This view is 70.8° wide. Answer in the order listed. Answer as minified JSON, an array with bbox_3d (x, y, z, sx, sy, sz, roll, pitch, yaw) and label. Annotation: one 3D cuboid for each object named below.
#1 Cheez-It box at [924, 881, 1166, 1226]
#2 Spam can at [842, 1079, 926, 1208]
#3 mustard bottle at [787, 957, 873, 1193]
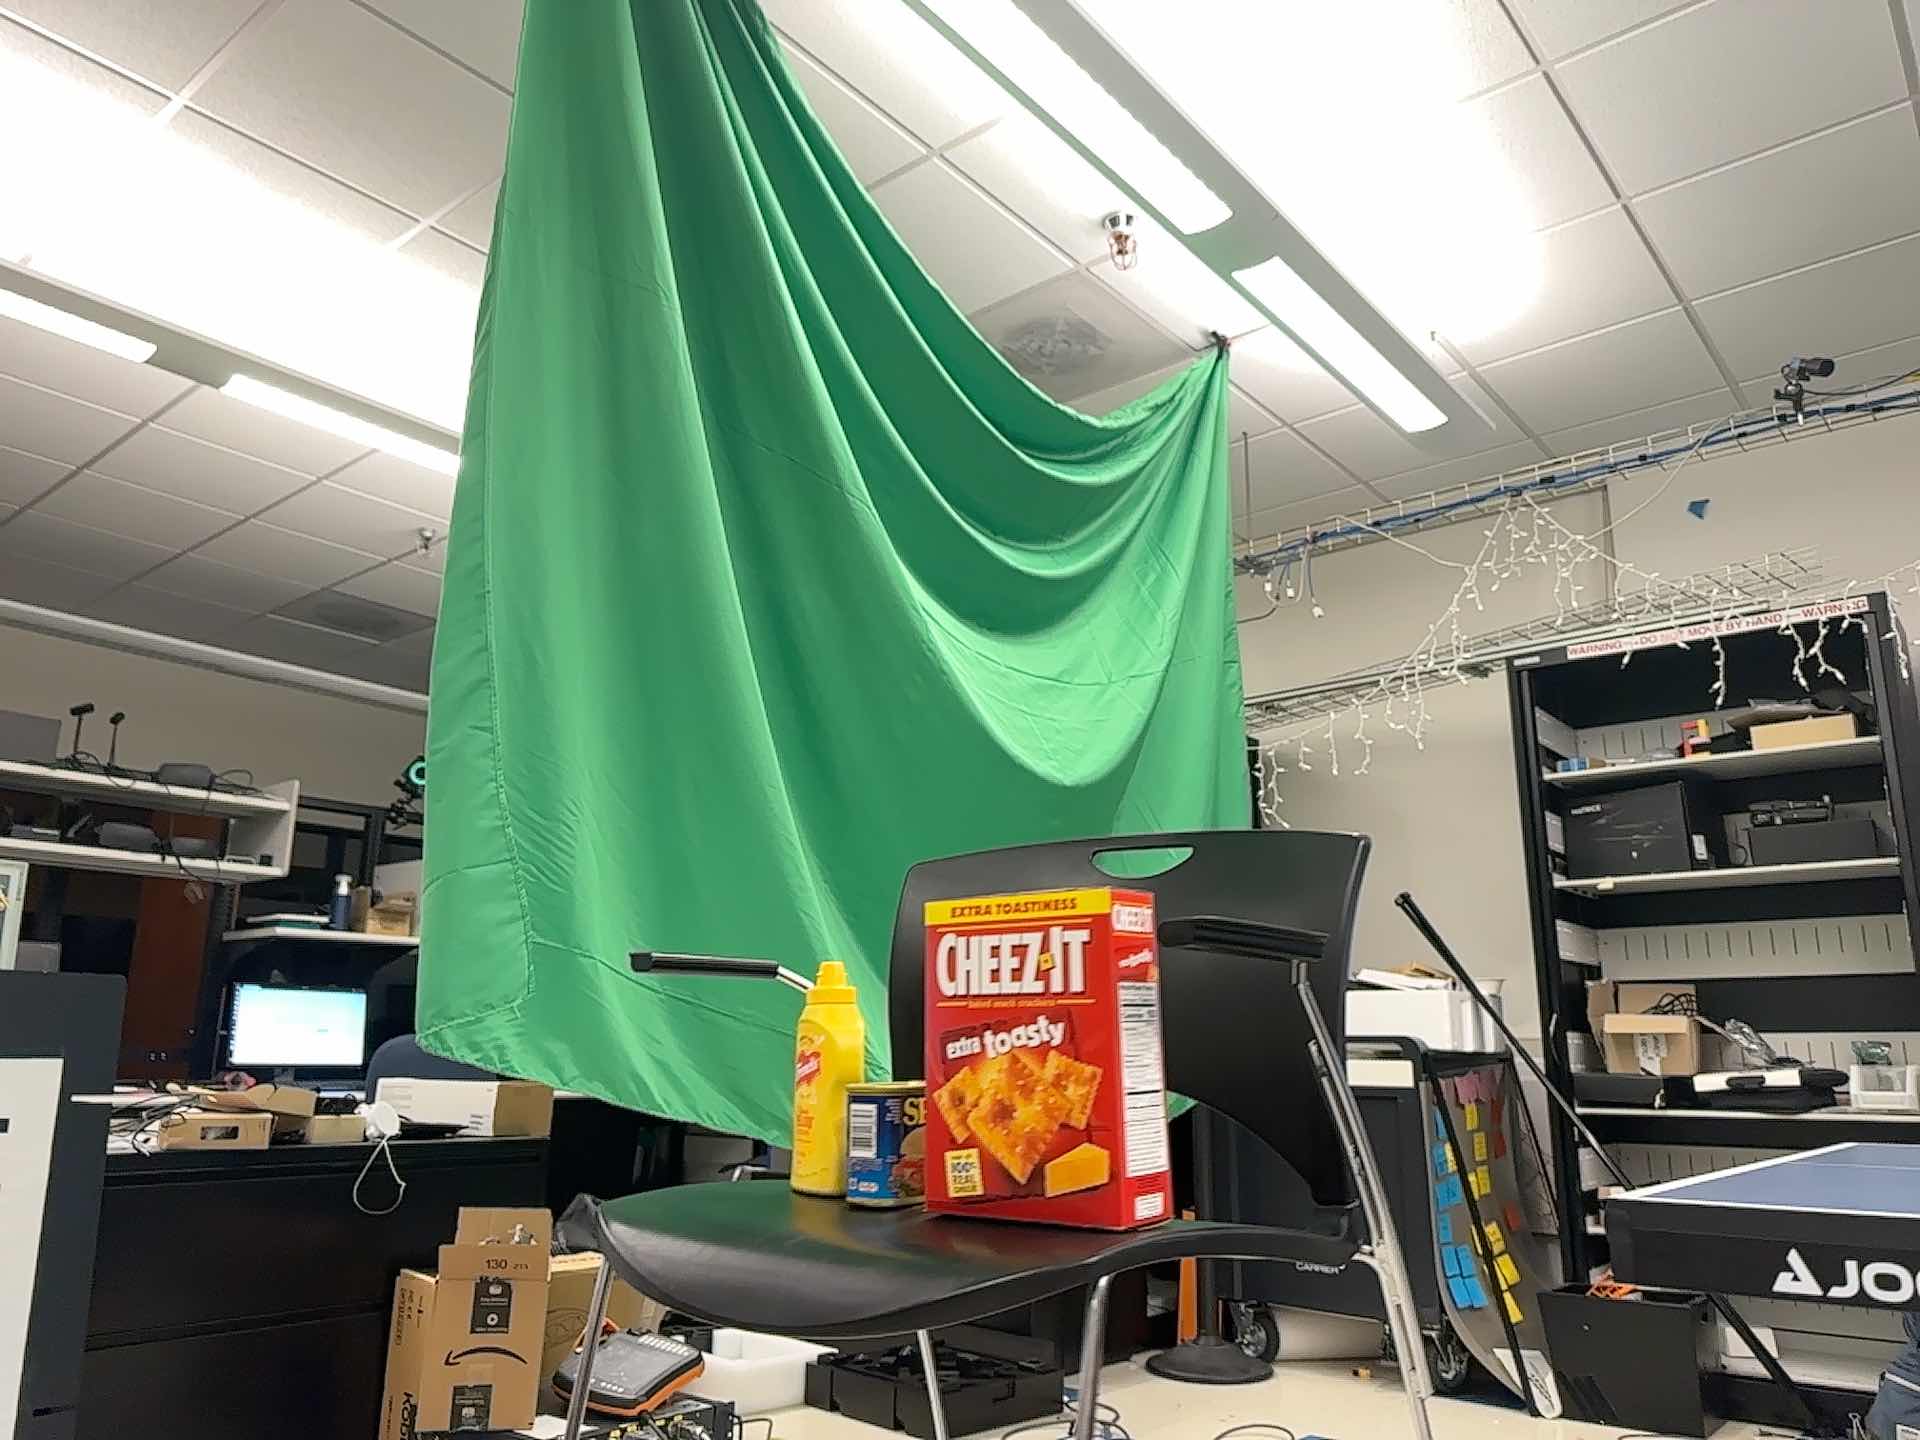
[{"bbox_3d":[0.056,0.231,0.954,0.159,0.214,0.062,-11,-17,40],"label":"Cheez-It box"},{"bbox_3d":[-0.043,0.326,1.048,0.056,0.083,0.100,-9,-13,42],"label":"Spam can"},{"bbox_3d":[-0.107,0.289,1.119,0.054,0.184,0.092,6,-12,-33],"label":"mustard bottle"}]
